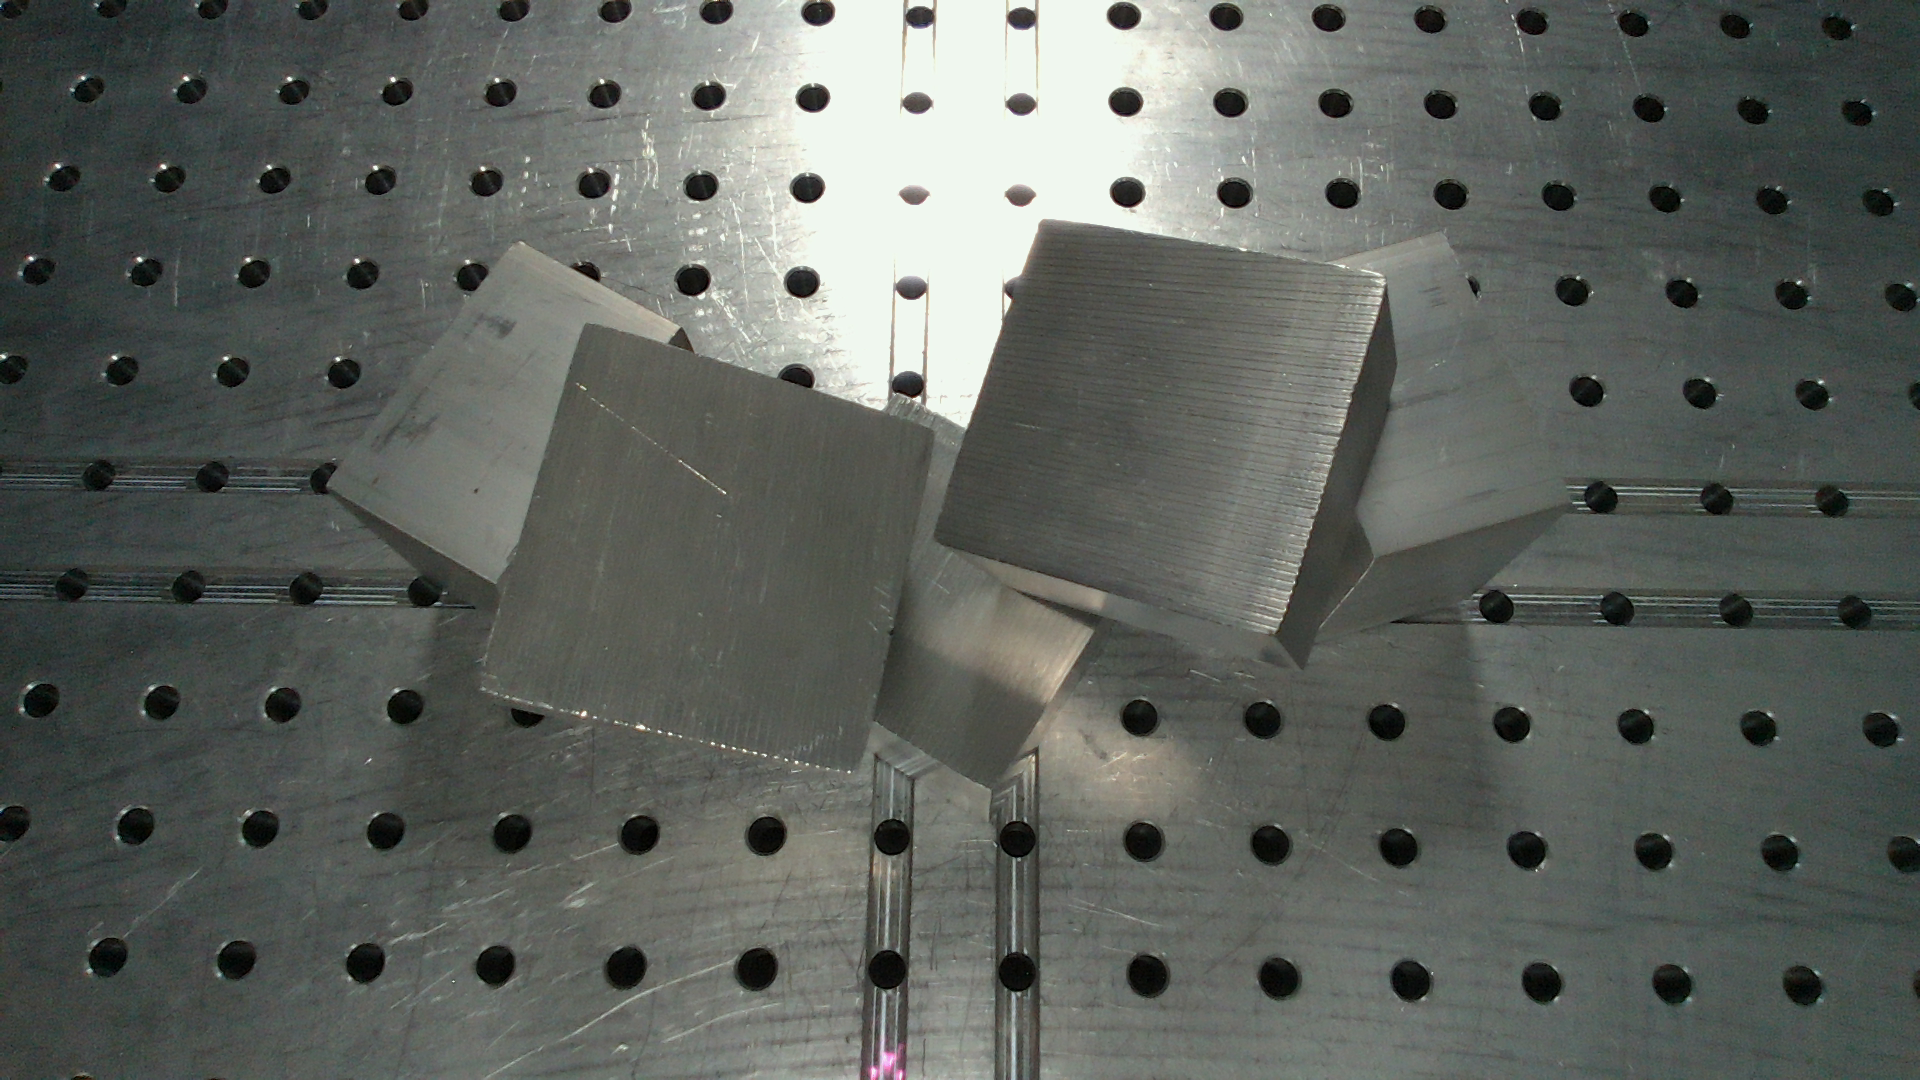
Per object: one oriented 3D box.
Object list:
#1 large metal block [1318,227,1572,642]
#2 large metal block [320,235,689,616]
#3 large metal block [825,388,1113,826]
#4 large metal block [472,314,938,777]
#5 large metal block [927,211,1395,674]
[{"bbox_3d":[0.111,-0.024,0.377,0.050,0.080,0.080,-15,71,-5],"label":"large metal block"},{"bbox_3d":[-0.111,-0.020,0.375,0.050,0.080,0.080,28,72,10],"label":"large metal block"},{"bbox_3d":[-0.004,0.019,0.376,0.080,0.050,0.080,30,73,10],"label":"large metal block"},{"bbox_3d":[-0.058,0.005,0.312,0.080,0.050,0.080,16,77,-16],"label":"large metal block"},{"bbox_3d":[0.049,-0.022,0.318,0.080,0.050,0.080,16,83,22],"label":"large metal block"}]
